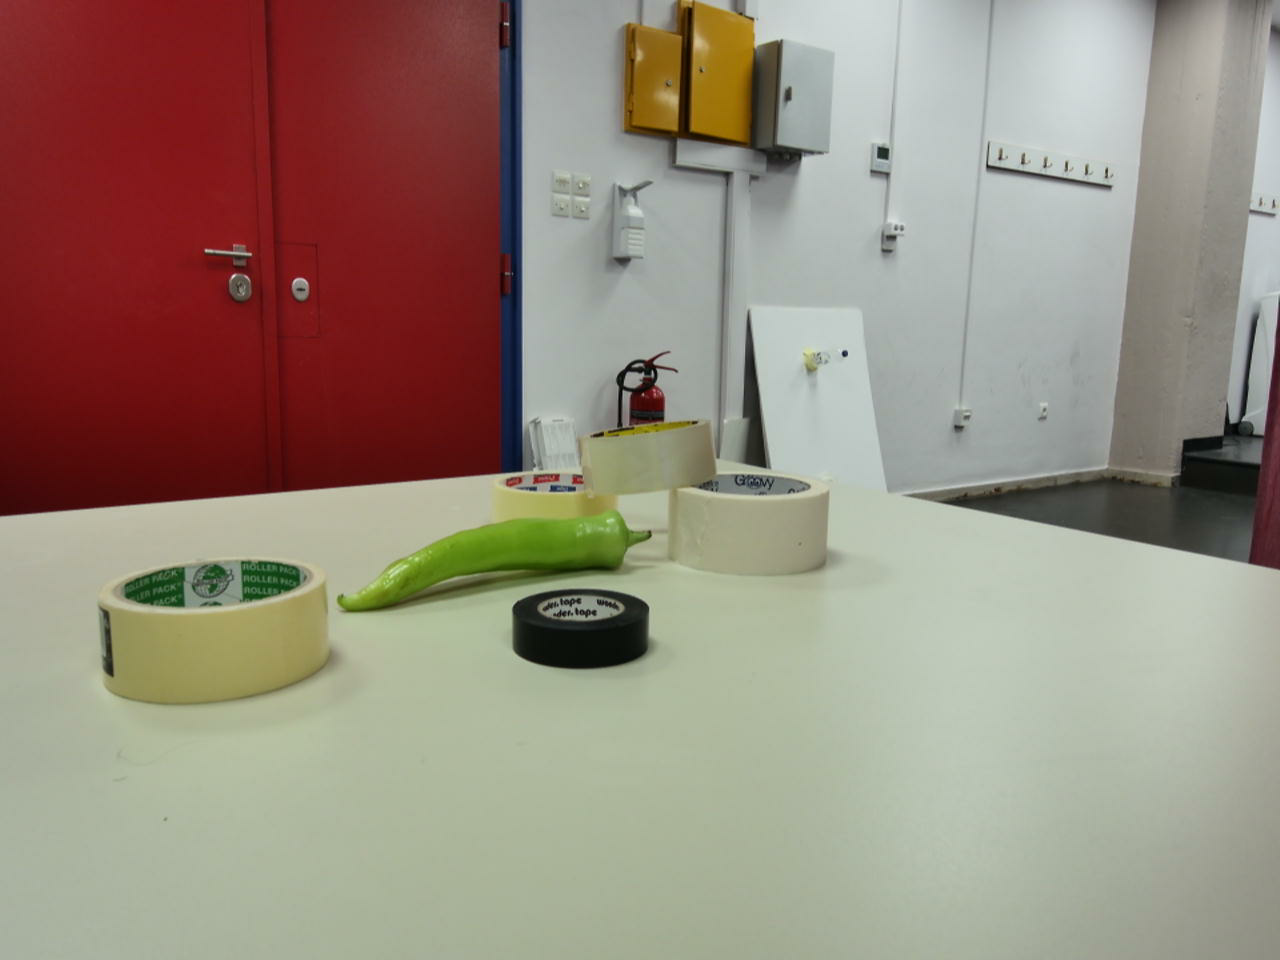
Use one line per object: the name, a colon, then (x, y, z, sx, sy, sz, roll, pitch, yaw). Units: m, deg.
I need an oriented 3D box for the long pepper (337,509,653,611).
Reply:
long pepper: (-0.083, 0.043, 0.585, 0.197, 0.038, 0.047, -5, 9, -34)
